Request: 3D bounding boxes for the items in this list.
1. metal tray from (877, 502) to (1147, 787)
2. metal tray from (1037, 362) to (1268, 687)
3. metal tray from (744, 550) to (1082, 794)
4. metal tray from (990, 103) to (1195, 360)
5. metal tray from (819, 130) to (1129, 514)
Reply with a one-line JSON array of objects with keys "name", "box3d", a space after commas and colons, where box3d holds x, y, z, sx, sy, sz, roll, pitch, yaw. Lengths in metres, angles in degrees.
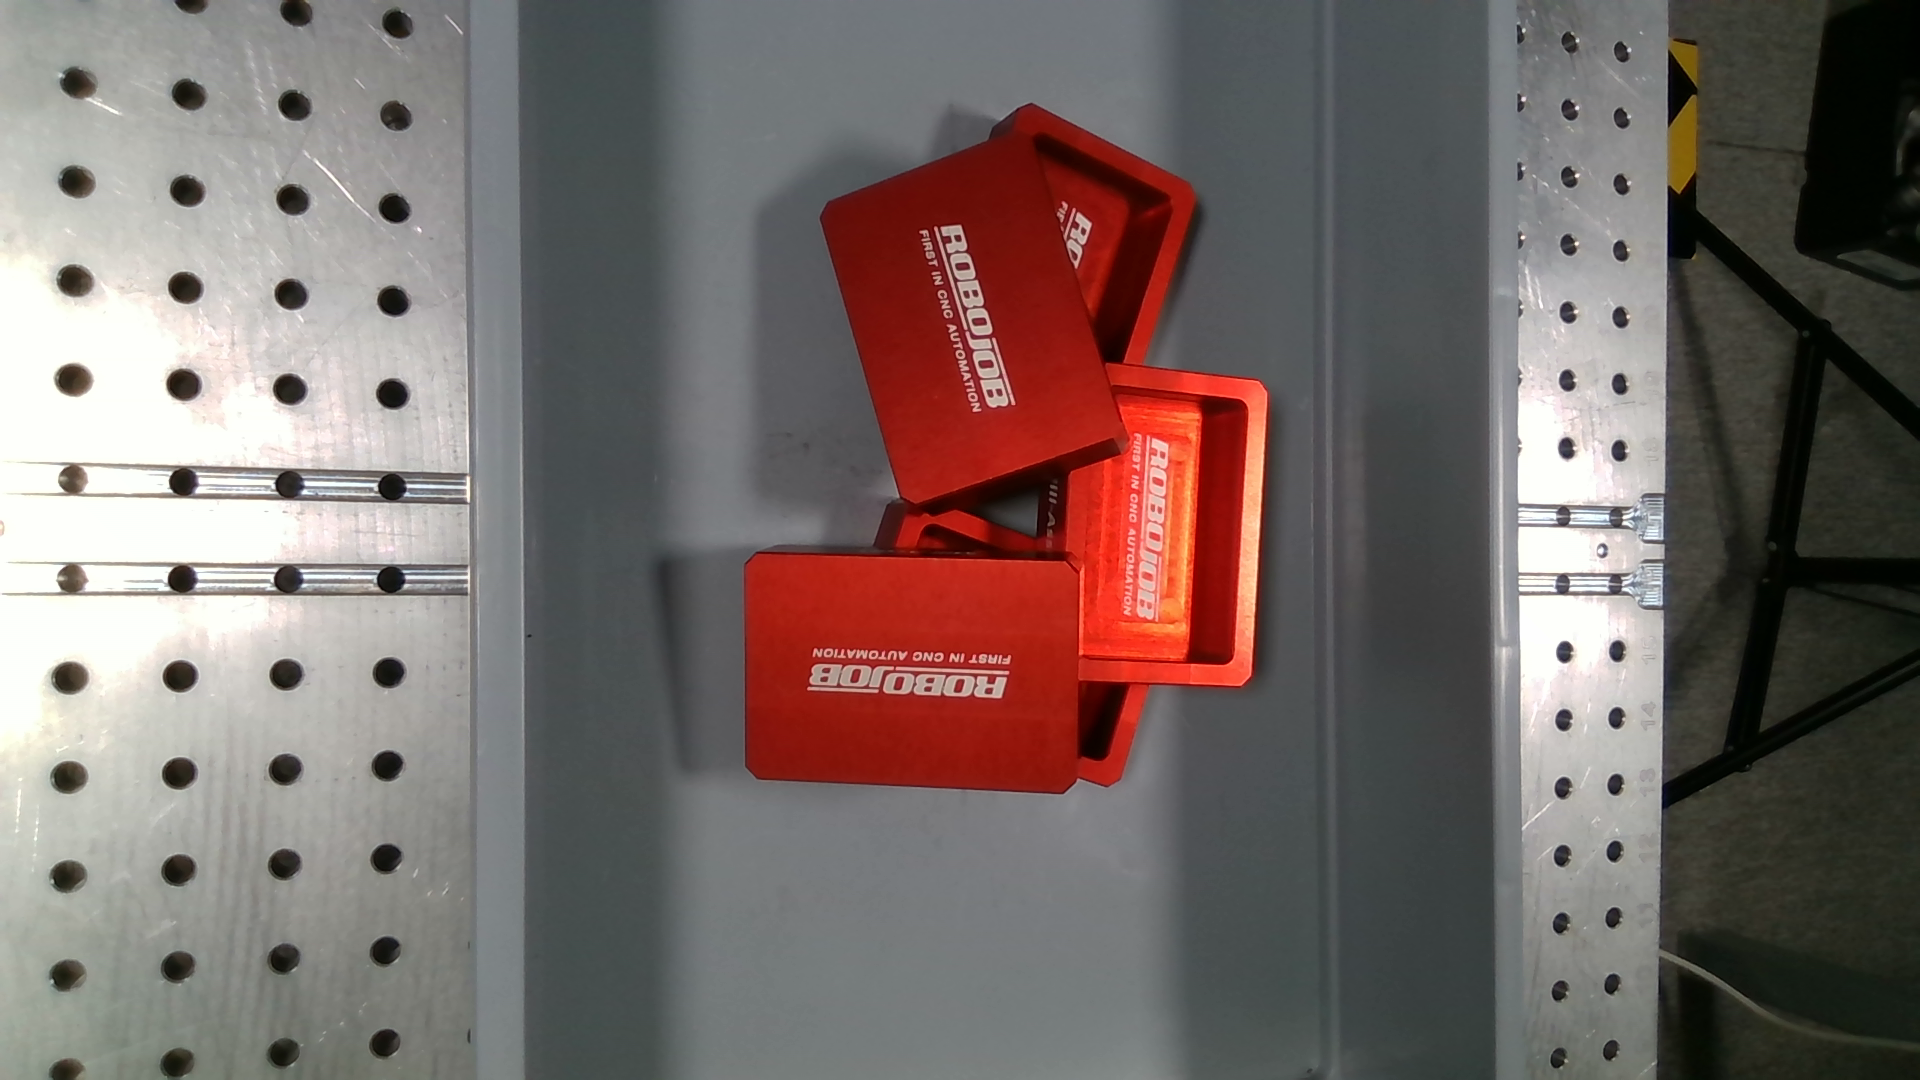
[{"name": "metal tray", "box3d": [0.019, 0.044, 0.589, 0.130, 0.030, 0.090, 20, 83, -19]}, {"name": "metal tray", "box3d": [0.080, -0.005, 0.579, 0.090, 0.030, 0.130, 4, 89, -20]}, {"name": "metal tray", "box3d": [-0.018, 0.049, 0.541, 0.130, 0.030, 0.090, 1, 96, 8]}, {"name": "metal tray", "box3d": [0.040, -0.108, 0.595, 0.090, 0.030, 0.130, 21, 83, -19]}, {"name": "metal tray", "box3d": [0.005, -0.085, 0.547, 0.090, 0.030, 0.130, -18, 80, 9]}]
